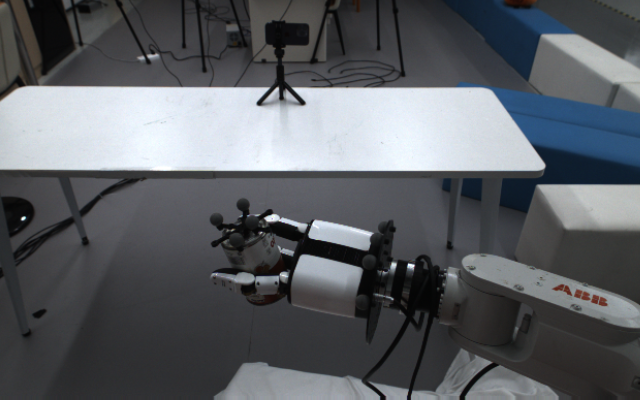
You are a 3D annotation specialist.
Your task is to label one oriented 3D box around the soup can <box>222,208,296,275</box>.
[{"bbox_3d":[-0.082,0.082,0.646,0.067,0.101,0.067,-13,31,8],"label":"soup can"}]
